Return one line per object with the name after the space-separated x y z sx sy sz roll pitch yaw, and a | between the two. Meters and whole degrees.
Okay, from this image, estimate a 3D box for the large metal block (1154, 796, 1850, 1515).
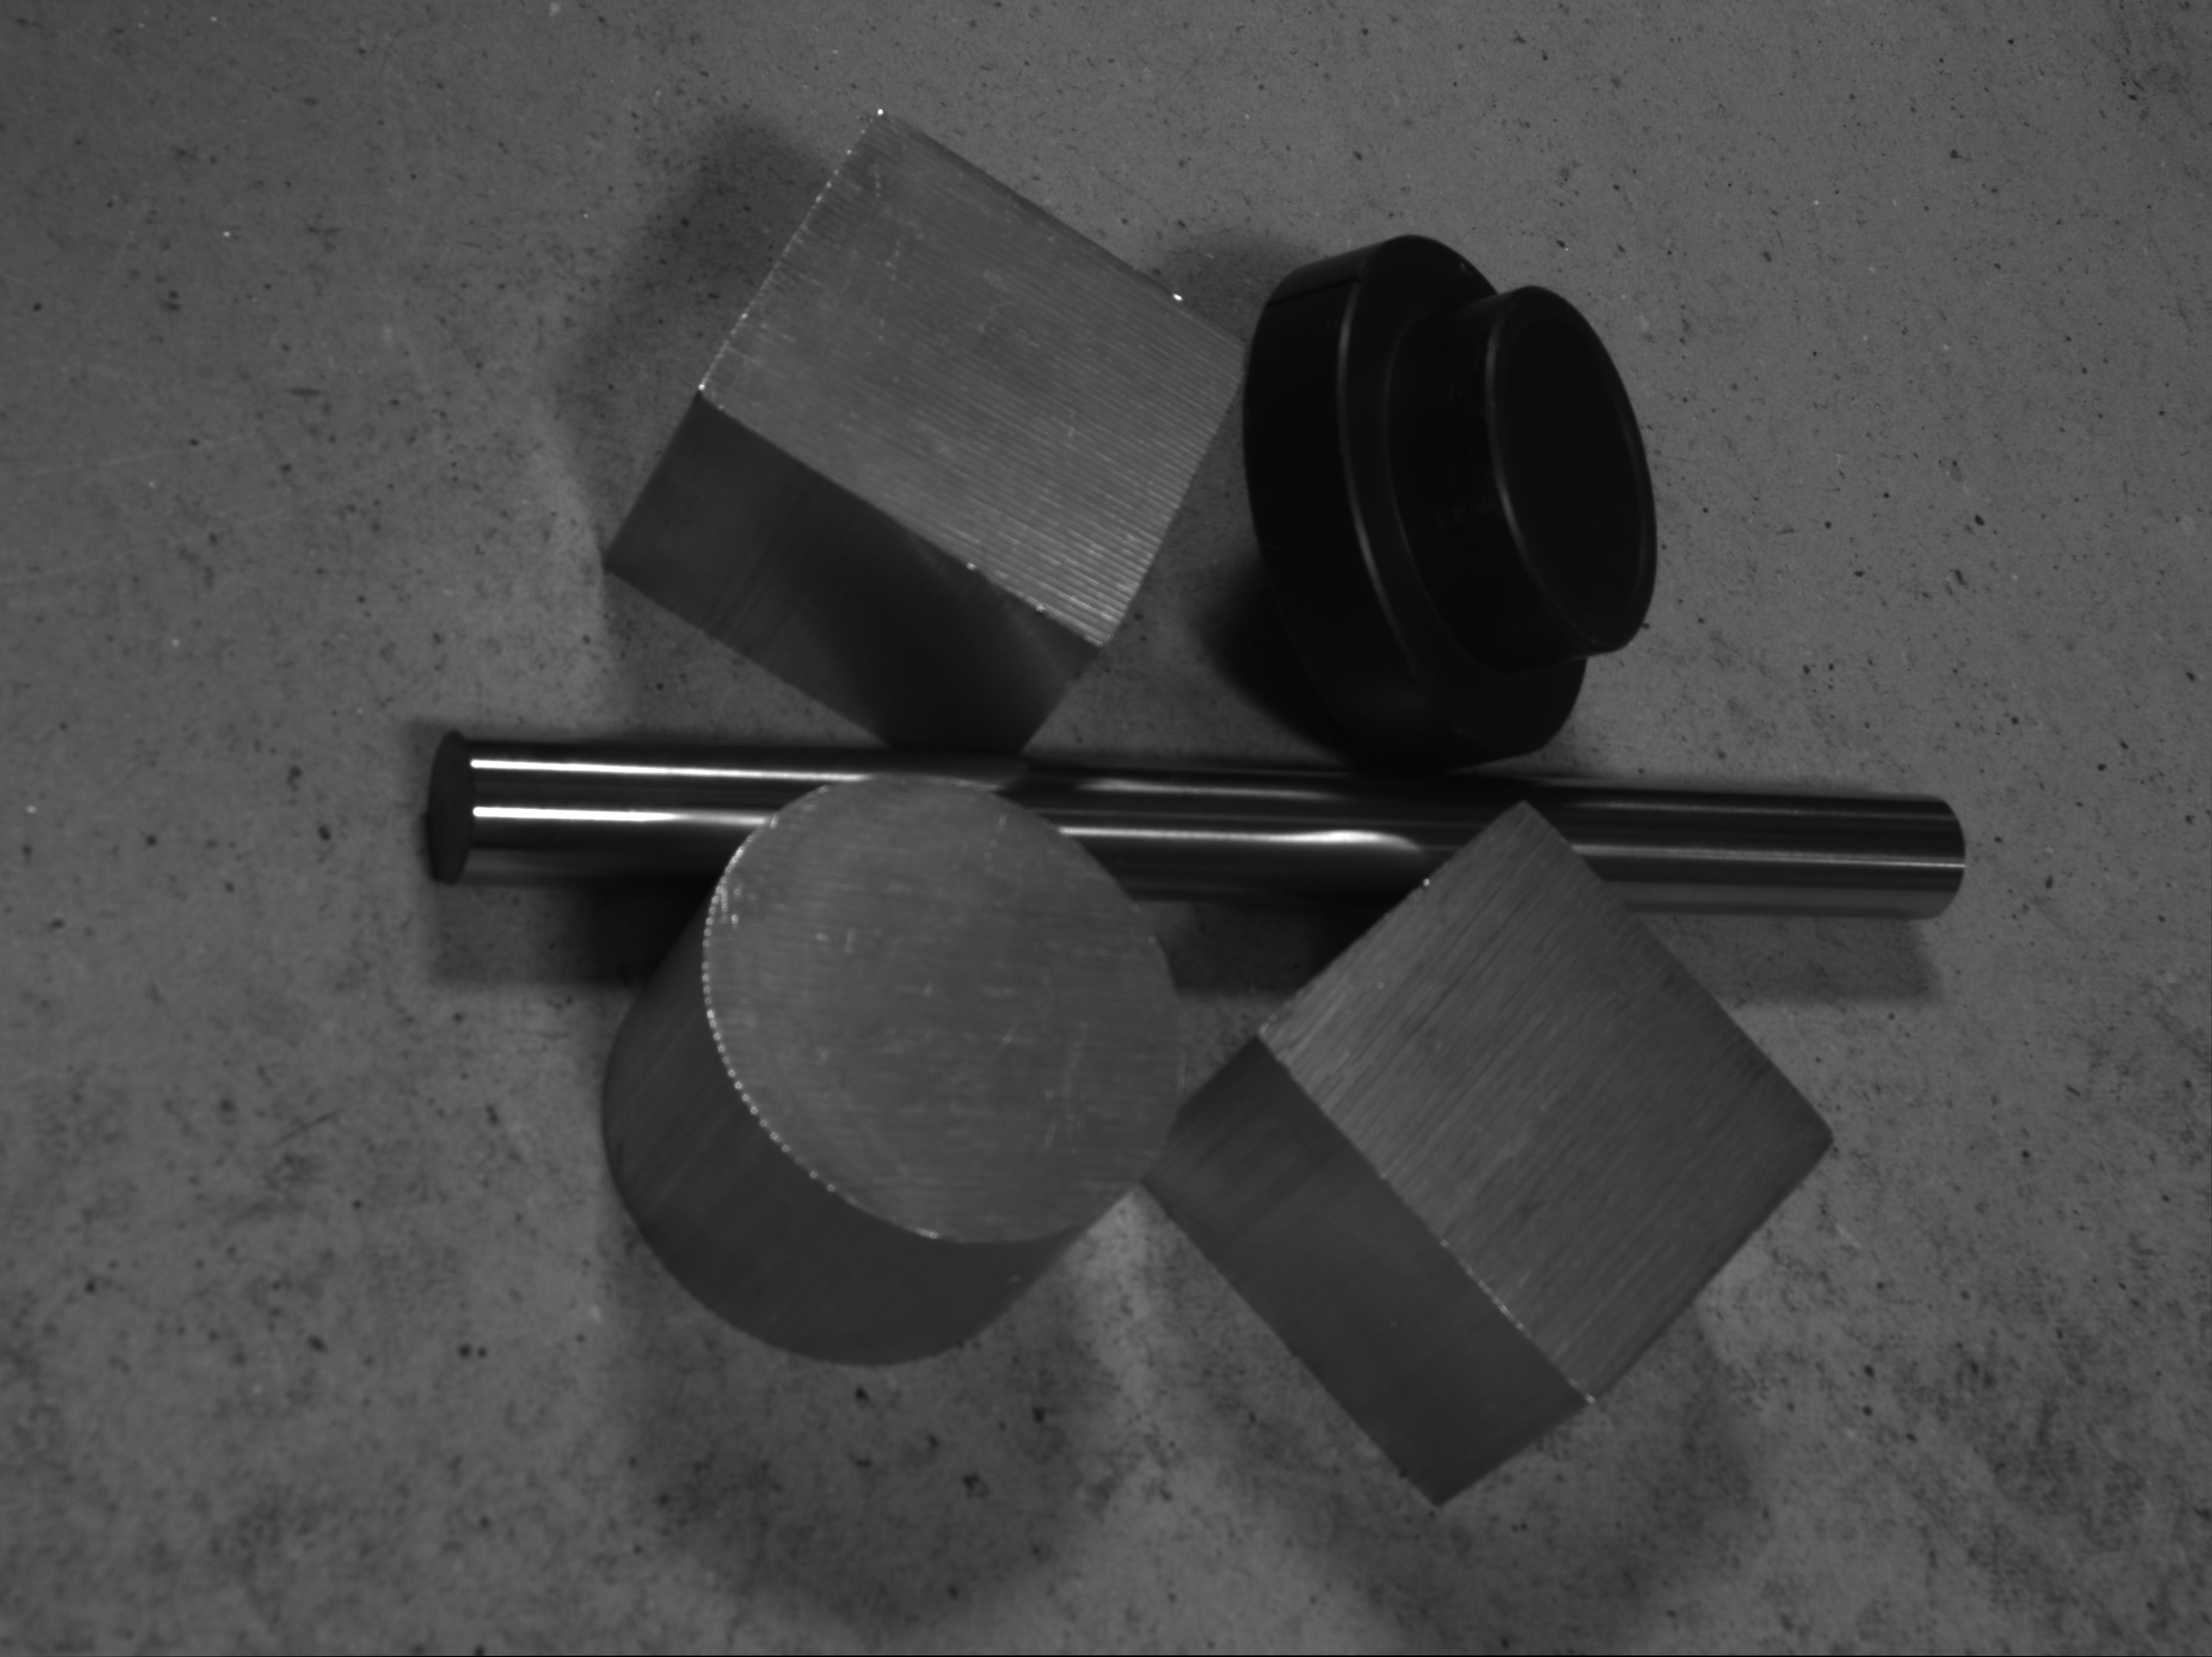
0.066 0.055 0.626 0.080 0.050 0.080 48 51 5 | large metal block

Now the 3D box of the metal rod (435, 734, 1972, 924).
0.030 0.002 0.656 0.301 0.025 0.025 2 61 -27 | metal rod

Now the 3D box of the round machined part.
0.069 -0.062 0.674 0.098 0.042 0.098 24 59 -50 | round machined part

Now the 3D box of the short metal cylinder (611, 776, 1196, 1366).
-0.033 0.039 0.583 0.080 0.050 0.080 14 56 -21 | short metal cylinder

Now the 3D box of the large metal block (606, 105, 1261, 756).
-0.029 -0.067 0.646 0.080 0.050 0.080 32 51 -7 | large metal block
